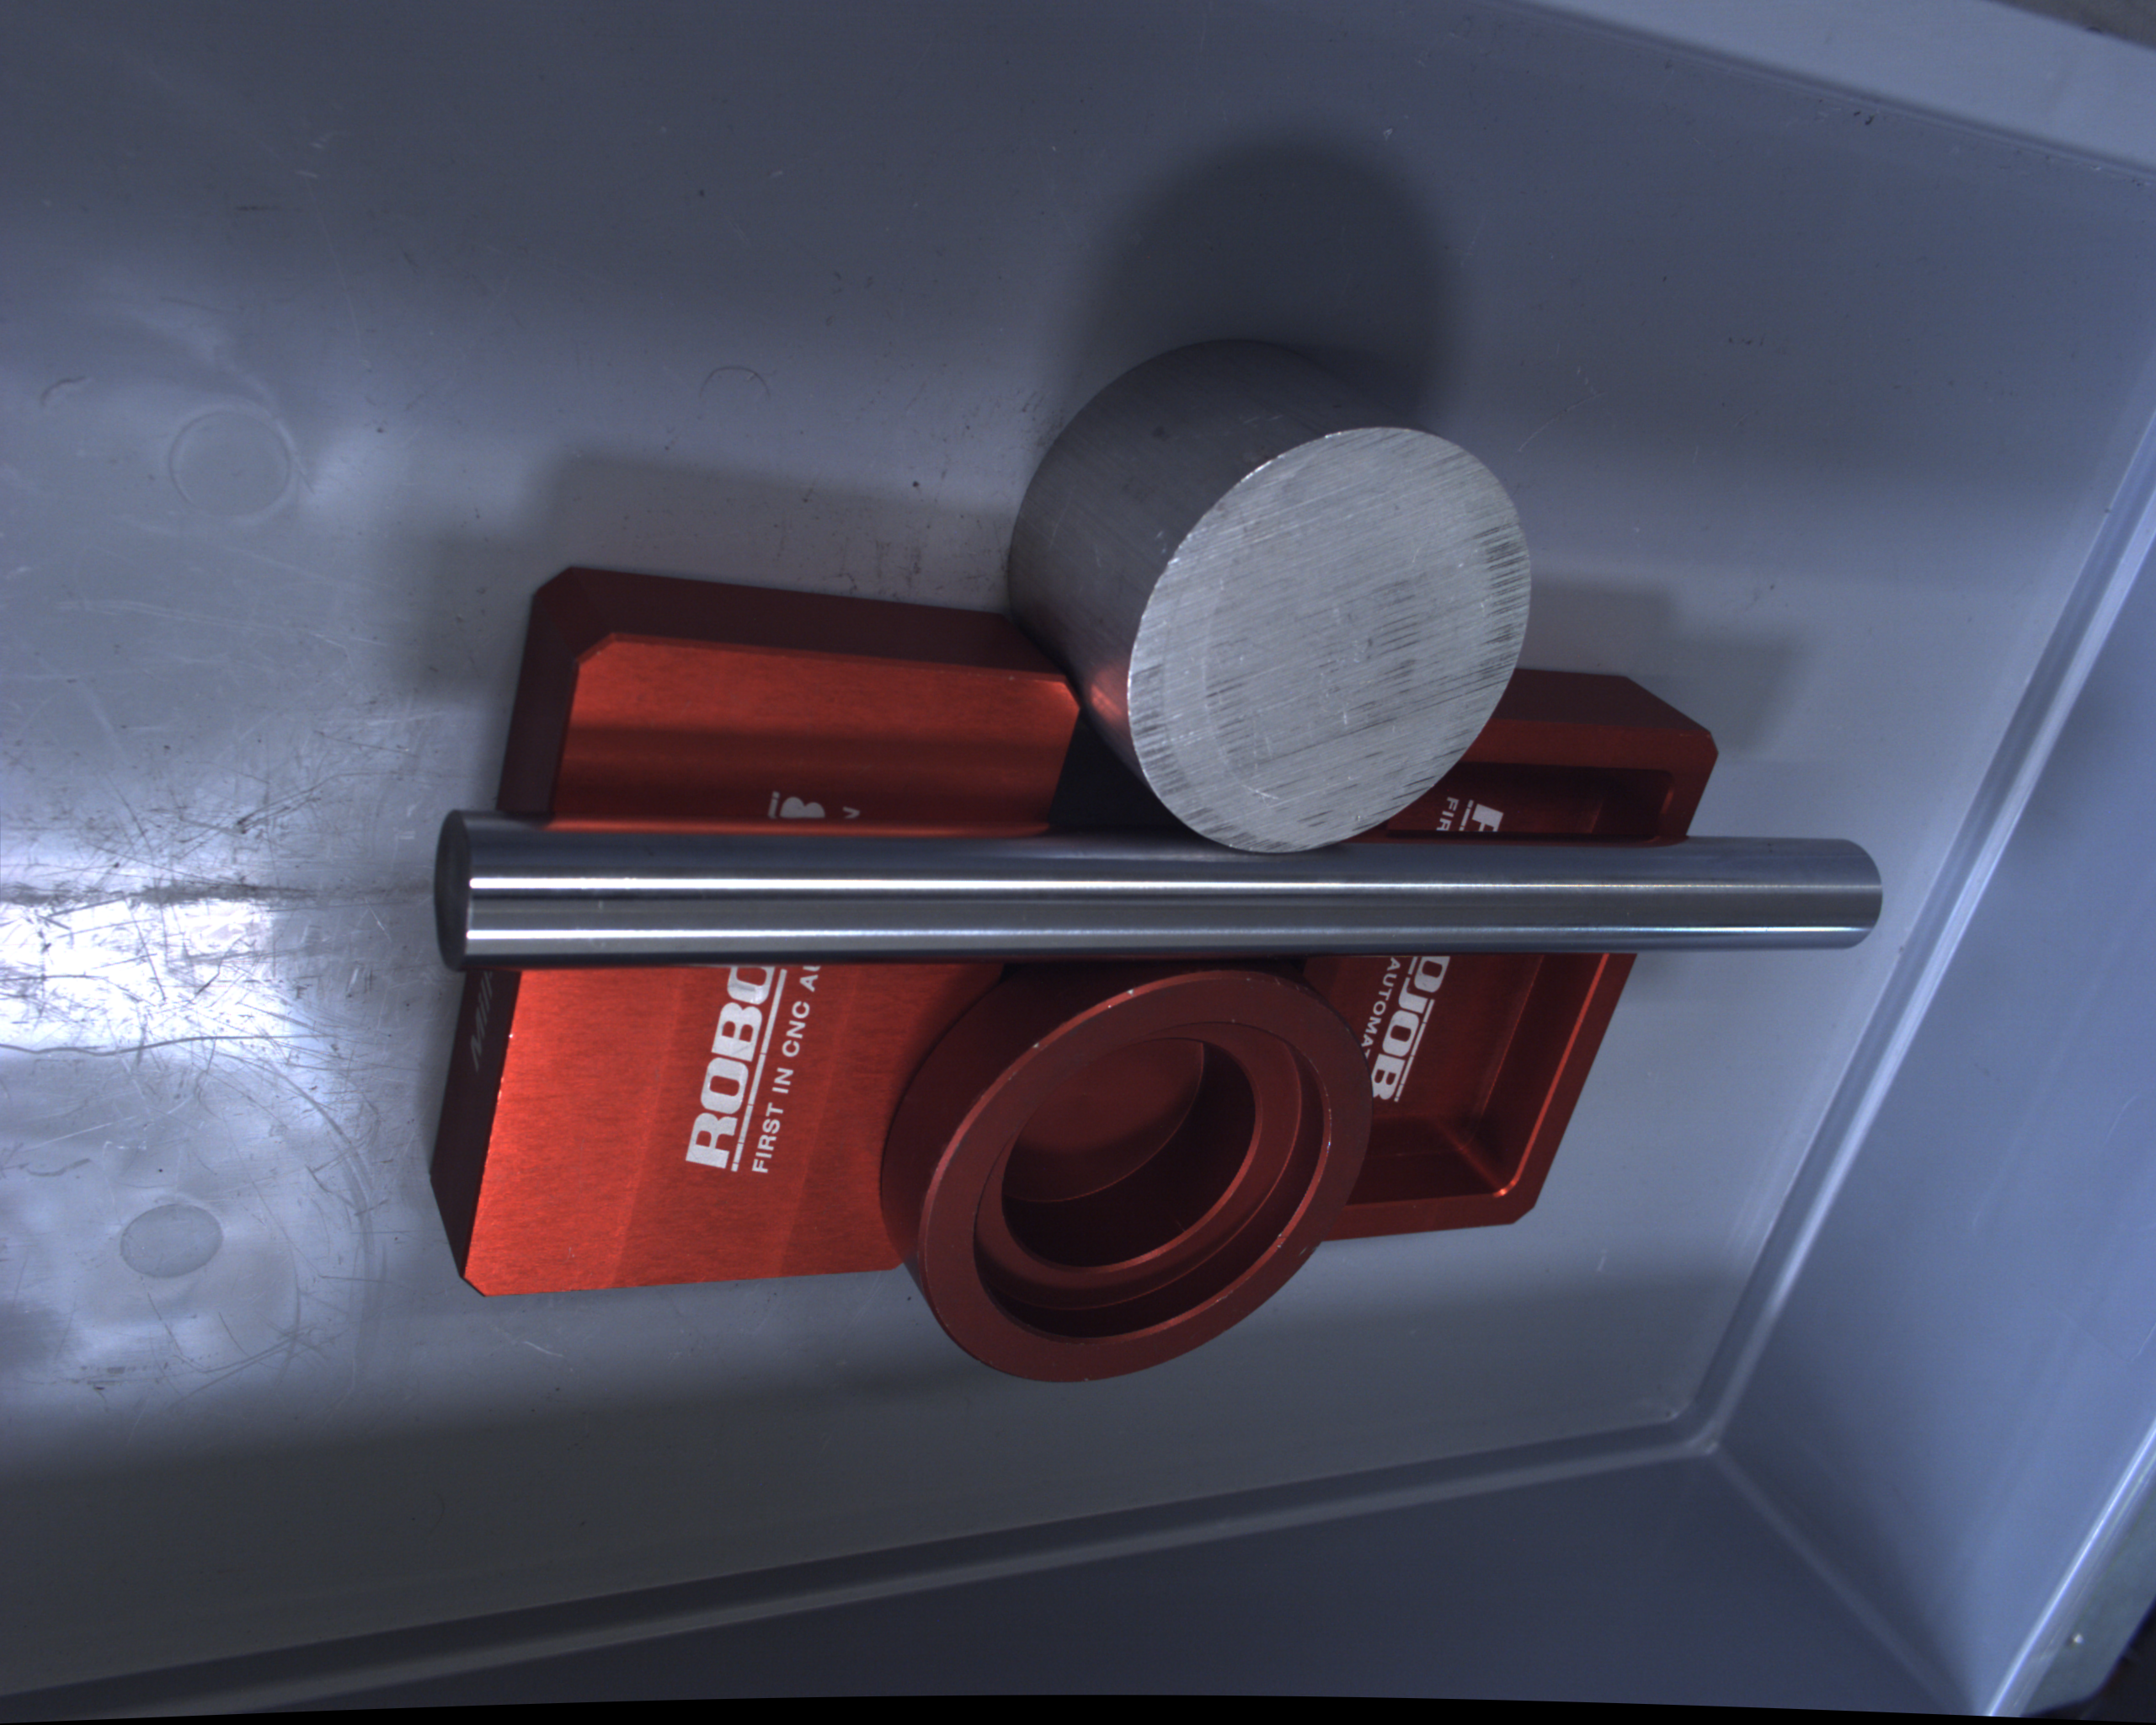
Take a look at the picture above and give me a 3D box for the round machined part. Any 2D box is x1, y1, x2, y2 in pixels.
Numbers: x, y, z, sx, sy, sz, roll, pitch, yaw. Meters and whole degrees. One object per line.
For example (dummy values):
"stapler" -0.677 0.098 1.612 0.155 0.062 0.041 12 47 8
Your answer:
"round machined part" 0.007 0.053 0.420 0.099 0.042 0.097 -14 124 -21

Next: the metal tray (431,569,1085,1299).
"metal tray" -0.060 0.016 0.379 0.091 0.030 0.129 3 117 -30

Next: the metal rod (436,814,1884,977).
"metal rod" 0.037 0.006 0.391 0.303 0.025 0.025 0 118 -29

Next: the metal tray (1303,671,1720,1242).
"metal tray" 0.077 0.022 0.459 0.091 0.030 0.129 1 118 -29

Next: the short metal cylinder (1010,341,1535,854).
"short metal cylinder" 0.035 -0.048 0.379 0.081 0.050 0.079 -14 124 -21
